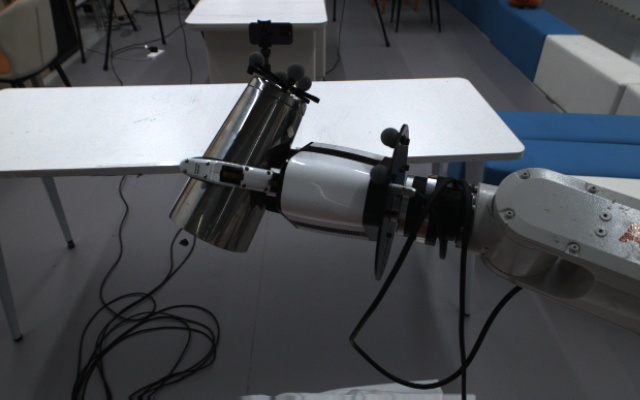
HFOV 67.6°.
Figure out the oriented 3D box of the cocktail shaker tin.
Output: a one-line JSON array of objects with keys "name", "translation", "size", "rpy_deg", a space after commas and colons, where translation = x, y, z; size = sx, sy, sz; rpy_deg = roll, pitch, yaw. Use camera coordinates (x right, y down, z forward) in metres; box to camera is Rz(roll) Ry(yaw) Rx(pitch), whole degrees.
[{"name": "cocktail shaker tin", "translation": [-0.080, -0.043, 0.519], "size": [0.093, 0.170, 0.093], "rpy_deg": [27, 2, -1]}]
